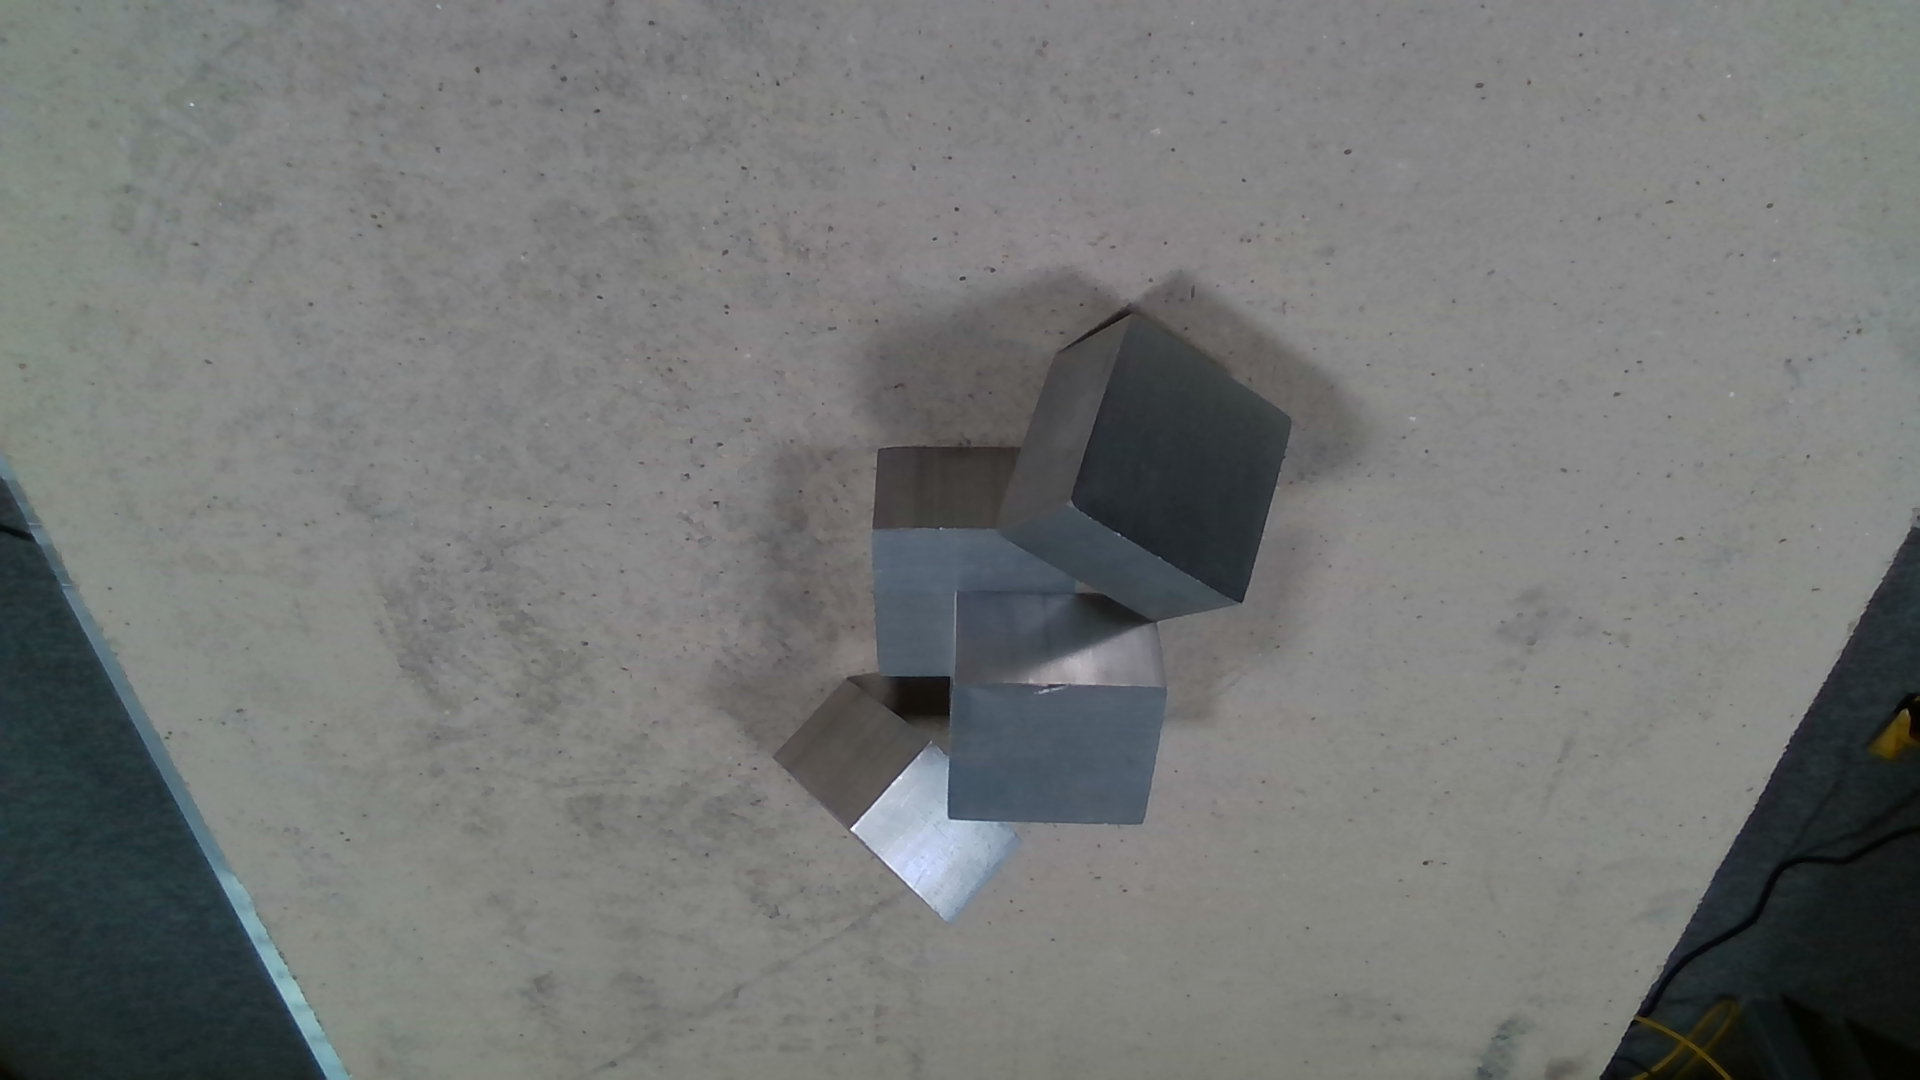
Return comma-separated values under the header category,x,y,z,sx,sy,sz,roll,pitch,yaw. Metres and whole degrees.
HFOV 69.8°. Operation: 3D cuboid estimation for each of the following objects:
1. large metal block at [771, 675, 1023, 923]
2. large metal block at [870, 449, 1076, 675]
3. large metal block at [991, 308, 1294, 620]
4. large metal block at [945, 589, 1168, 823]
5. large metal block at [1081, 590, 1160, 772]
category,x,y,z,sx,sy,sz,roll,pitch,yaw
large metal block,-0.030,0.118,0.634,0.050,0.080,0.080,-47,124,-12
large metal block,0.006,0.010,0.569,0.080,0.050,0.080,0,130,0
large metal block,0.069,-0.026,0.513,0.080,0.080,0.050,29,157,-22
large metal block,0.035,0.067,0.551,0.080,0.050,0.080,2,130,-1
large metal block,0.047,0.069,0.622,0.080,0.050,0.080,0,130,0
